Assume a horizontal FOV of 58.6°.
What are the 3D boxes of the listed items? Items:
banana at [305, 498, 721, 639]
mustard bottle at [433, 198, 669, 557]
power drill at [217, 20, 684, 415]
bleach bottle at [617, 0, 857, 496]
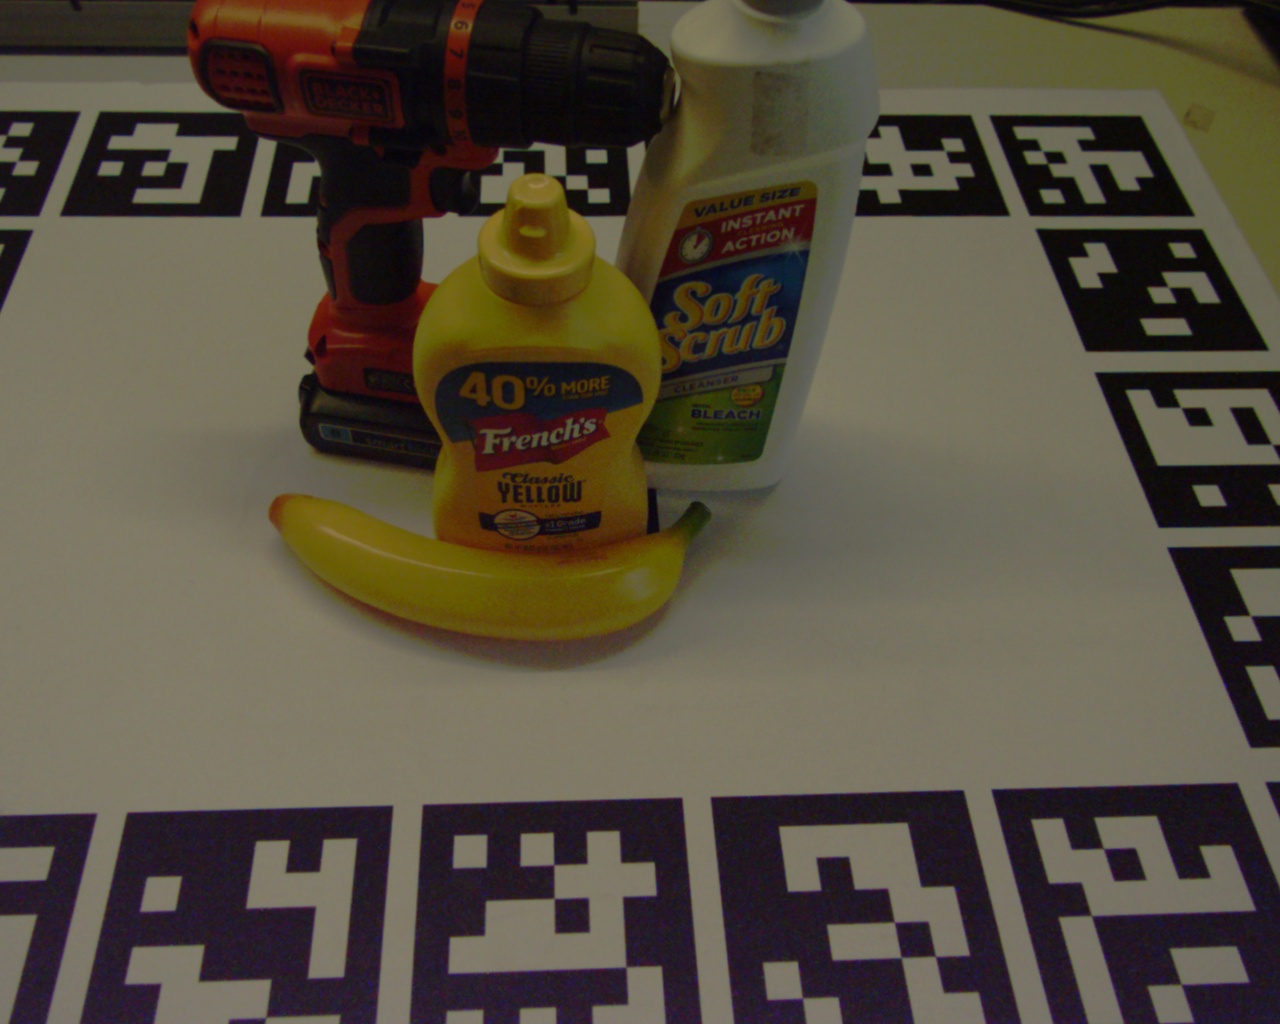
[{"bbox_3d":[-0.061,0.023,0.530,0.197,0.039,0.074,2,55,1],"label":"banana"},{"bbox_3d":[-0.037,-0.051,0.479,0.096,0.191,0.058,0,54,-5],"label":"mustard bottle"},{"bbox_3d":[-0.080,-0.120,0.502,0.185,0.186,0.057,10,53,2],"label":"power drill"},{"bbox_3d":[0.031,-0.113,0.498,0.102,0.250,0.068,2,49,-2],"label":"bleach bottle"}]
